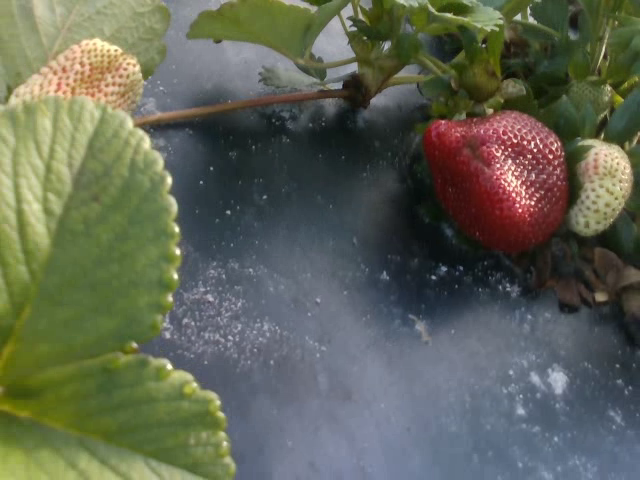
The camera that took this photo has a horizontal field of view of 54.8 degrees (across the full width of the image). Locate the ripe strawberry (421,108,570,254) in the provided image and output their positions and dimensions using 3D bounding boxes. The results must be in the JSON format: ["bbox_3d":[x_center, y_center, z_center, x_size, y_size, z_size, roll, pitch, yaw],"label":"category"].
[{"bbox_3d":[0.061,-0.023,0.217,0.057,0.058,0.070,-7,-17,31],"label":"ripe strawberry"}]
